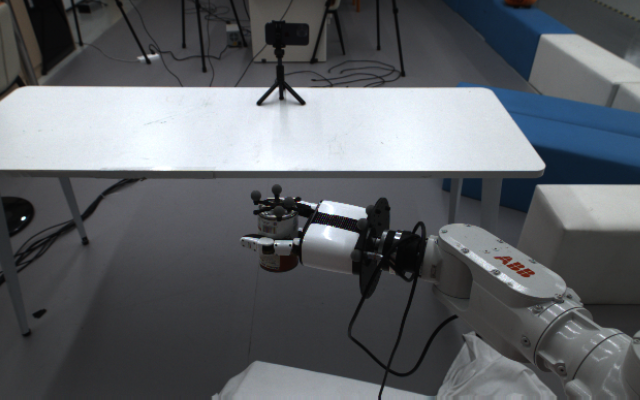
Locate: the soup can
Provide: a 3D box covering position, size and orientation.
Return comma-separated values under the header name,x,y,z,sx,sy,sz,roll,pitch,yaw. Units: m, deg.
name,x,y,z,sx,sy,sz,roll,pitch,yaw
soup can,-0.068,0.060,0.799,0.067,0.101,0.067,1,26,0
